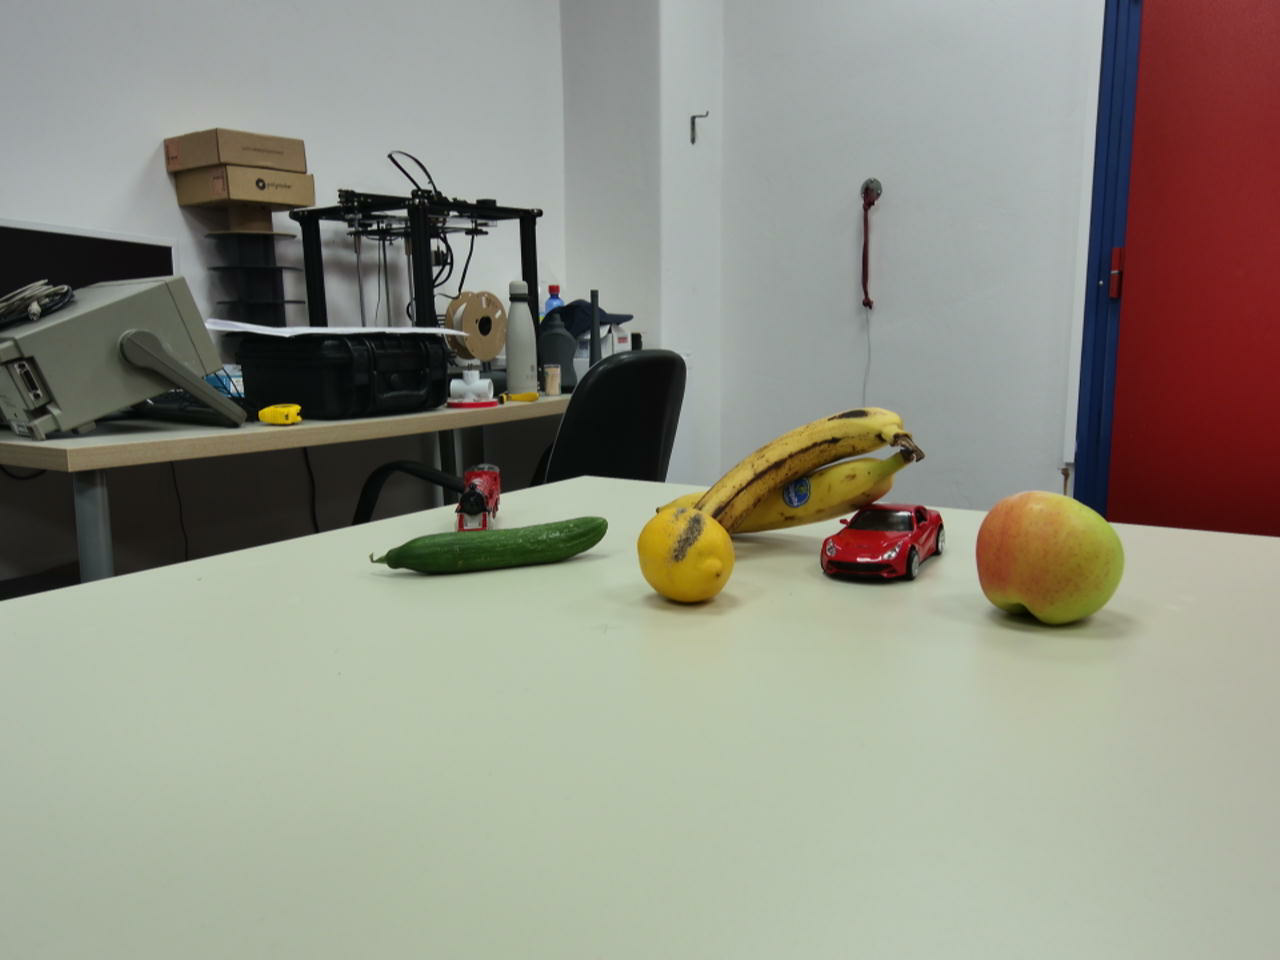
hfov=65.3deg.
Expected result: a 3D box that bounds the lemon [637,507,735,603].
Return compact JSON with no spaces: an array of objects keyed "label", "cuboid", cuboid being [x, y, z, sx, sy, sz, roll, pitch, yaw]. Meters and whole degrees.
[{"label":"lemon","cuboid":[0.029,0.045,0.609,0.061,0.056,0.058,4,8,27]}]
